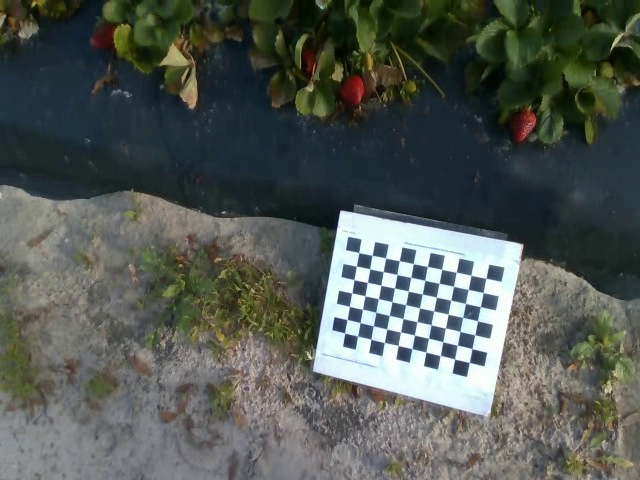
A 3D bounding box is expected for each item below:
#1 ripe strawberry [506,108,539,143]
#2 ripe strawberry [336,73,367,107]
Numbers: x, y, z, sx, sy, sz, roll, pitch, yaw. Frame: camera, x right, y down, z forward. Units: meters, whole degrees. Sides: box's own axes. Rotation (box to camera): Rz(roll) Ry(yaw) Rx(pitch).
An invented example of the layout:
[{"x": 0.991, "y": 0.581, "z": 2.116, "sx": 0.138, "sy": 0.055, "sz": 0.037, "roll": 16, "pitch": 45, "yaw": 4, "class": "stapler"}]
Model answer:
[{"x": 0.203, "y": -0.109, "z": 0.571, "sx": 0.029, "sy": 0.036, "sz": 0.021, "roll": 12, "pitch": -6, "yaw": 17, "class": "ripe strawberry"}, {"x": 0.035, "y": -0.151, "z": 0.602, "sx": 0.032, "sy": 0.030, "sz": 0.026, "roll": -27, "pitch": -26, "yaw": 10, "class": "ripe strawberry"}]
